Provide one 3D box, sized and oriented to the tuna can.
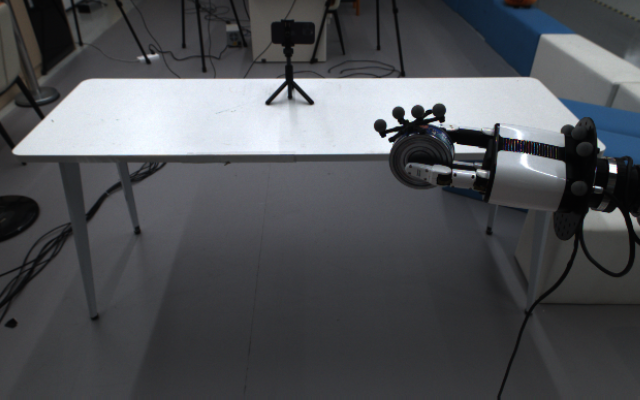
[{"bbox_3d":[0.139,-0.060,0.657,0.085,0.085,0.034,11,34,13],"label":"tuna can"}]
